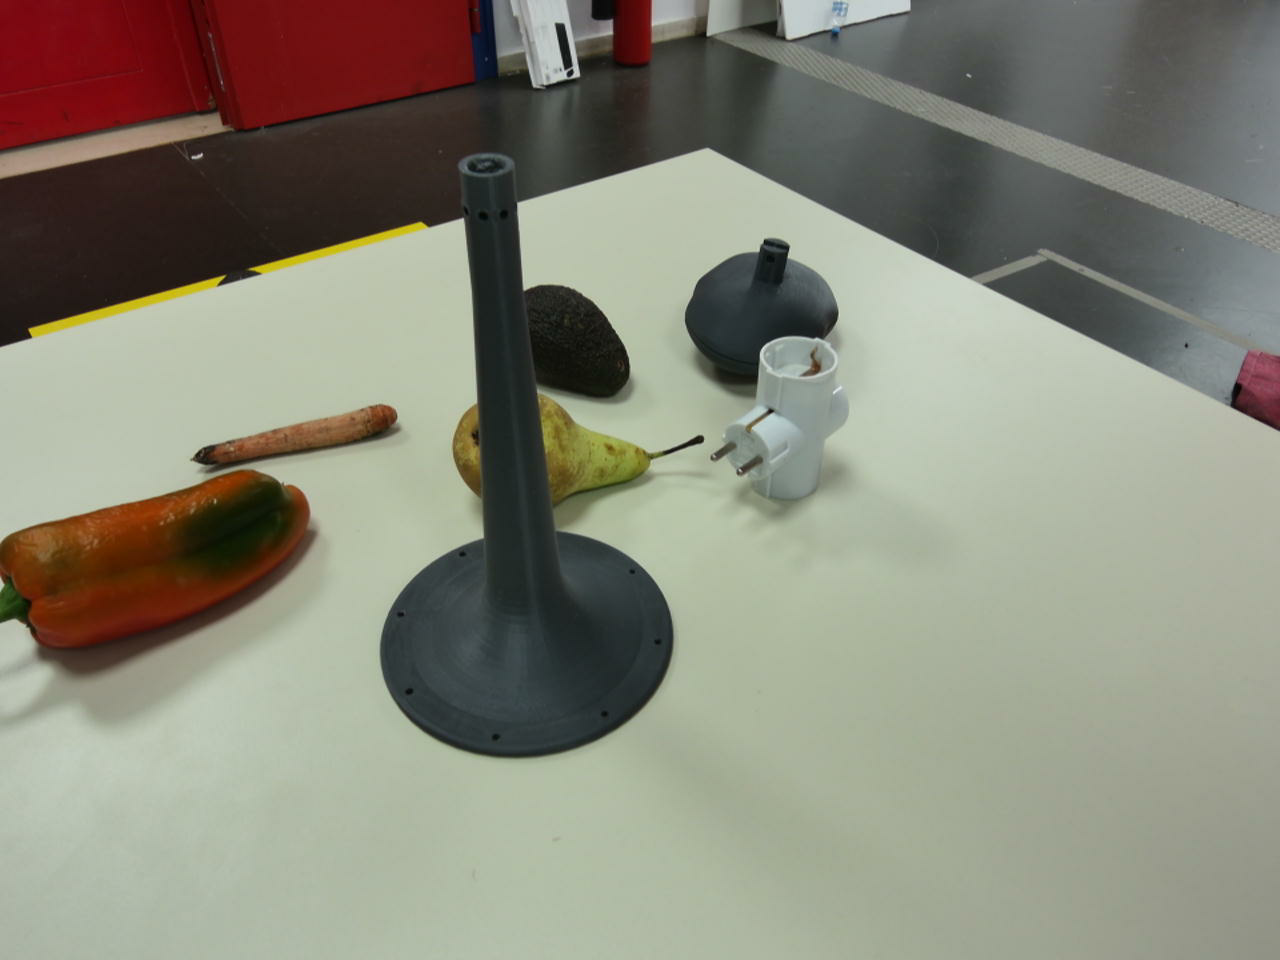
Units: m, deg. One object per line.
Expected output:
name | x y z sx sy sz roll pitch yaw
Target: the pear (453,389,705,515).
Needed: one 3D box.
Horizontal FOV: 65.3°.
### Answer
pear | -0.040 -0.026 0.591 0.144 0.075 0.071 -20 42 -23
